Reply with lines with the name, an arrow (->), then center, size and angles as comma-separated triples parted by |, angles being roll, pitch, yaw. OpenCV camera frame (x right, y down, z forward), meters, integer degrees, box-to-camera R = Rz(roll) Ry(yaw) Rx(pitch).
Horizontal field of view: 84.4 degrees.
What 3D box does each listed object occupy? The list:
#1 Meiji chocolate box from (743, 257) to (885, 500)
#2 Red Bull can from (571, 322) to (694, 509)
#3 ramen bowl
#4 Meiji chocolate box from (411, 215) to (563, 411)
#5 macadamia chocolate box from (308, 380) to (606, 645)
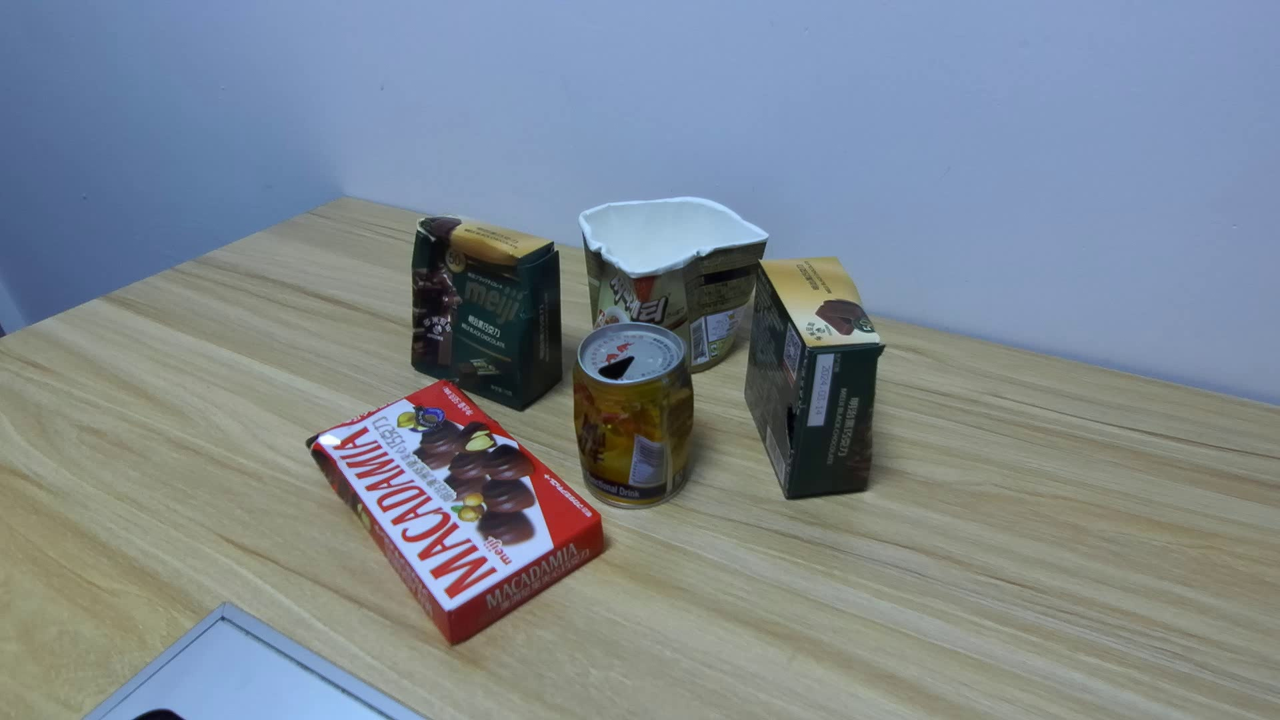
Meiji chocolate box -> 0.107, 0.008, 0.432 | 0.058, 0.111, 0.113 | -3, 33, -5
Red Bull can -> -0.004, 0.032, 0.413 | 0.072, 0.092, 0.072 | 0, 35, 0
ramen bowl -> 0.014, -0.063, 0.548 | 0.114, 0.098, 0.133 | -25, 42, -30
Meiji chocolate box -> -0.110, -0.037, 0.504 | 0.117, 0.117, 0.052 | 18, 29, 27
macadamia chocolate box -> -0.112, 0.074, 0.417 | 0.106, 0.028, 0.182 | -26, 41, -33
